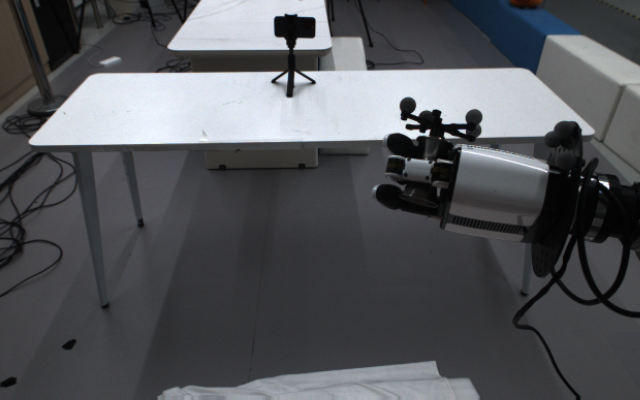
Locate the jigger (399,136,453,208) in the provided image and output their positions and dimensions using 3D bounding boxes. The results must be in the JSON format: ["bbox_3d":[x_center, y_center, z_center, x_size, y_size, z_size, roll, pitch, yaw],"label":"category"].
[{"bbox_3d":[0.118,-0.030,0.523,0.043,0.071,0.043,16,-7,2],"label":"jigger"}]
